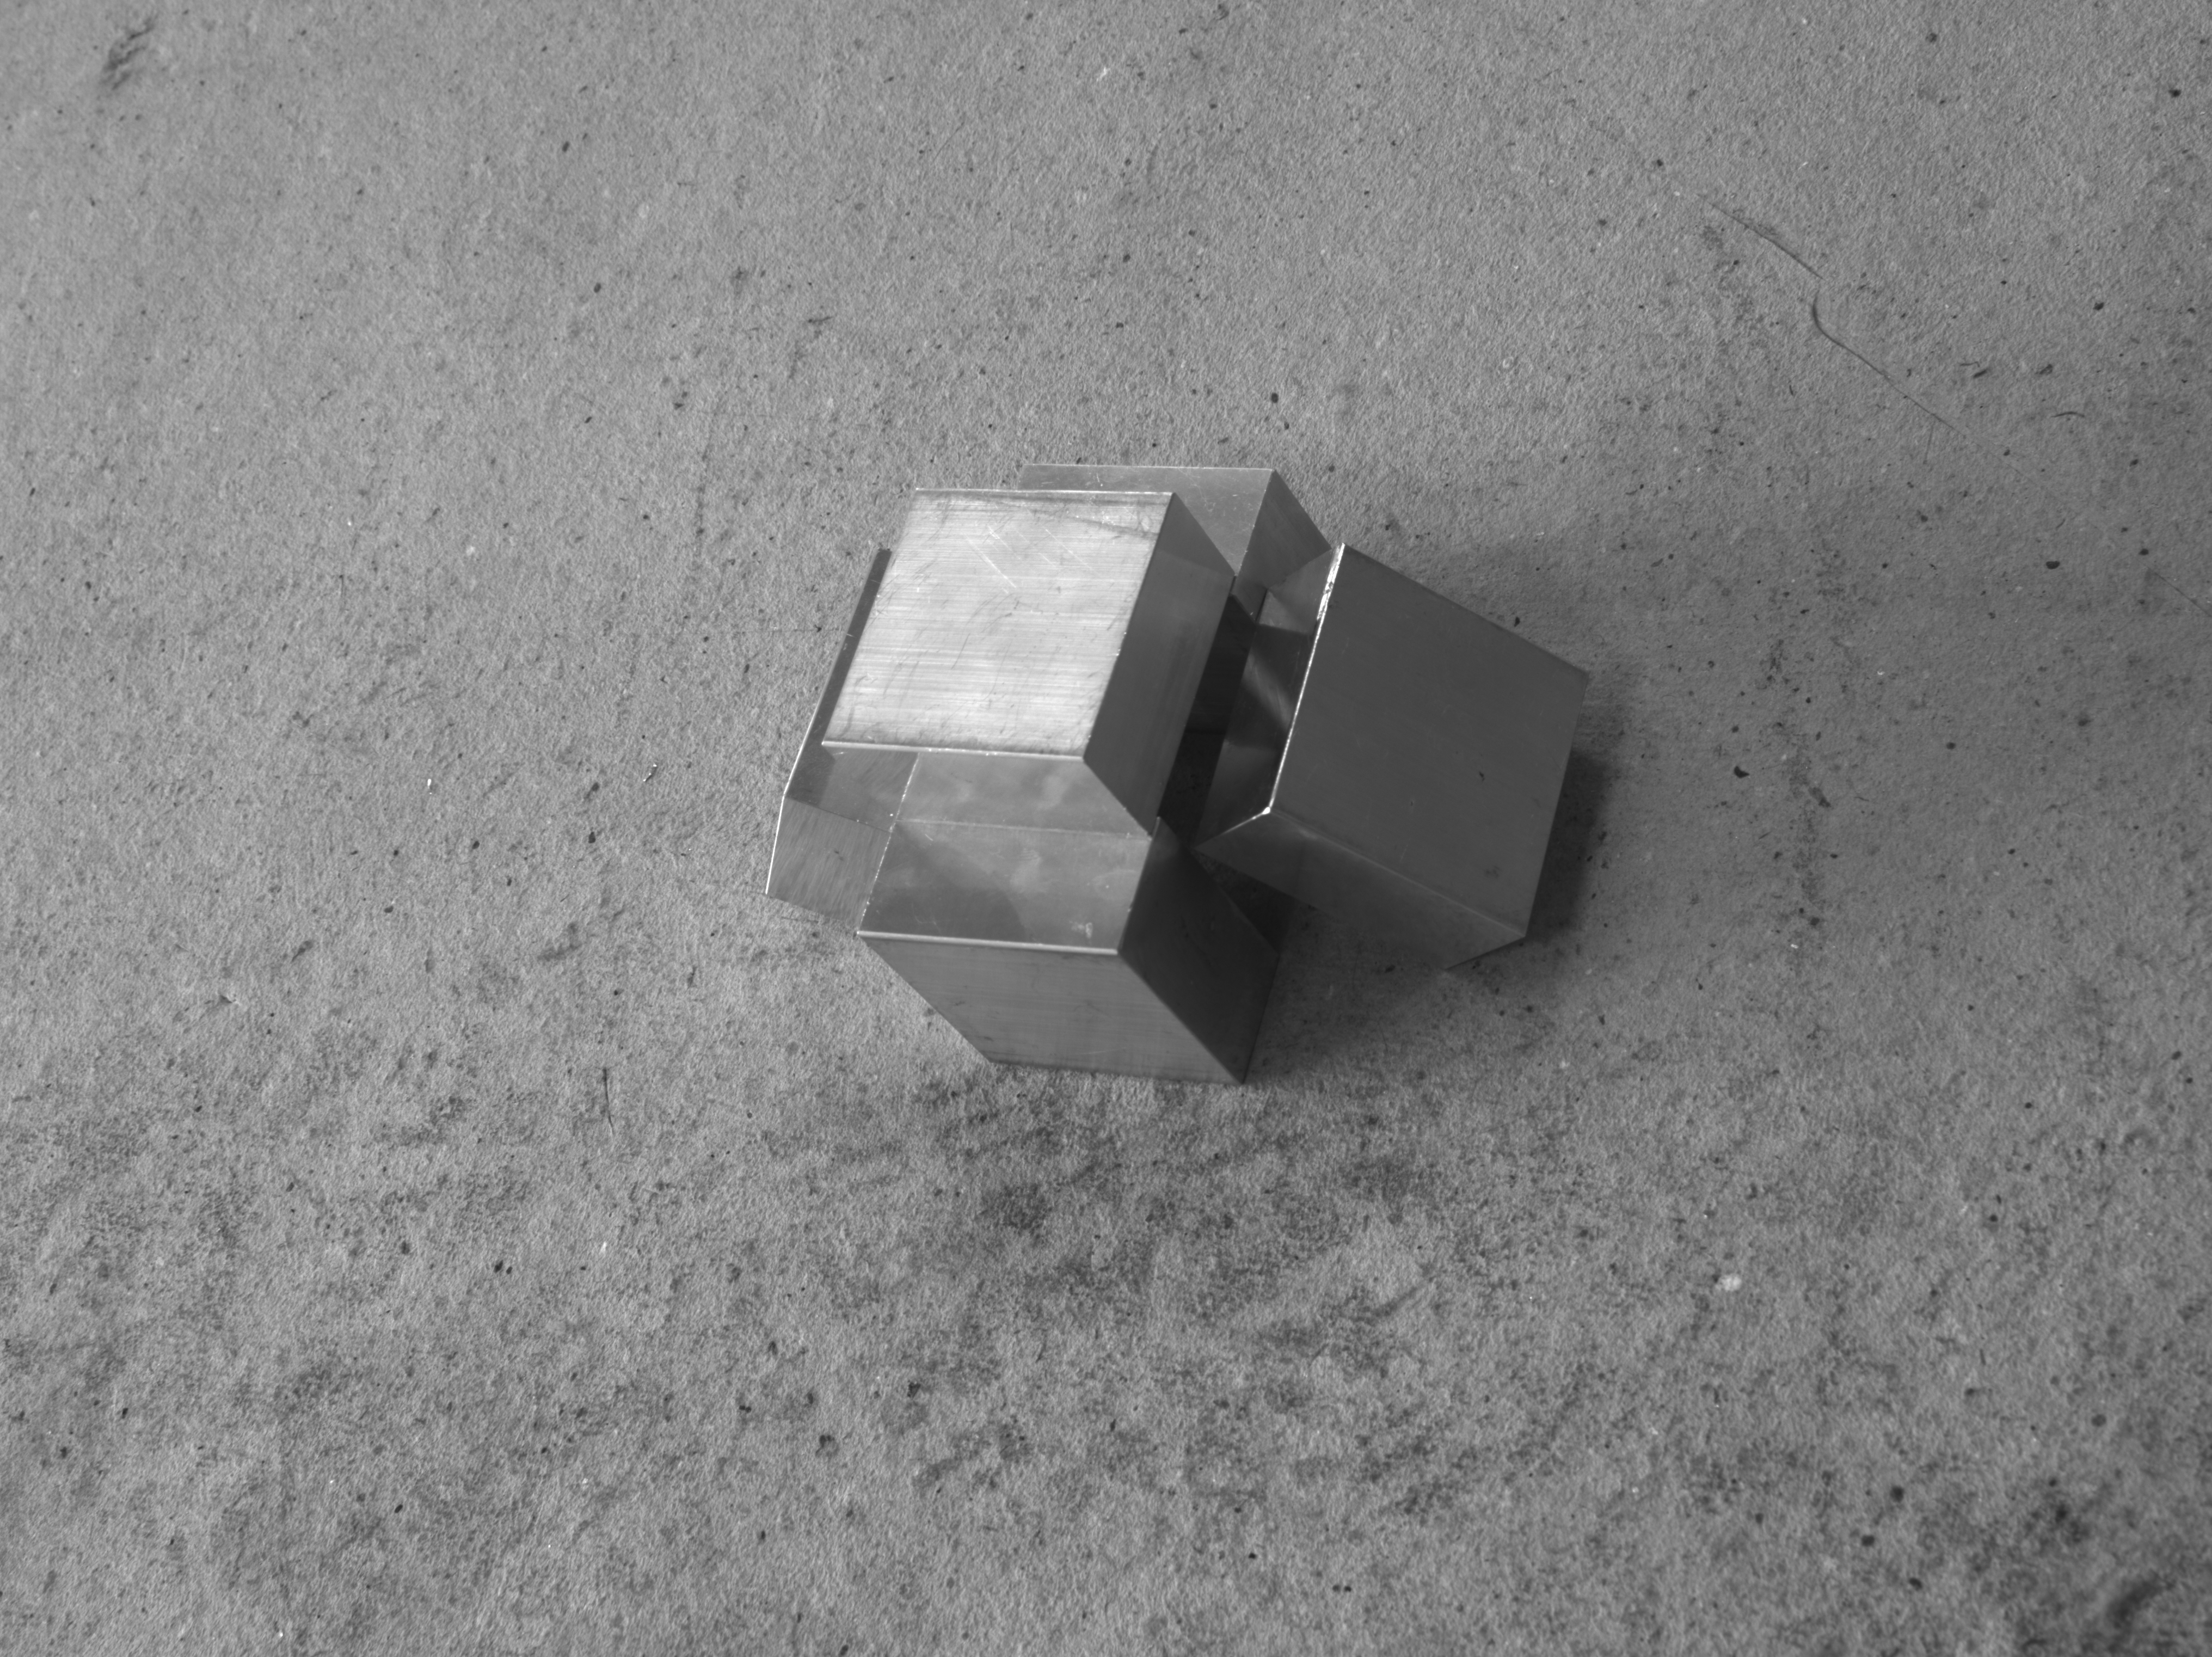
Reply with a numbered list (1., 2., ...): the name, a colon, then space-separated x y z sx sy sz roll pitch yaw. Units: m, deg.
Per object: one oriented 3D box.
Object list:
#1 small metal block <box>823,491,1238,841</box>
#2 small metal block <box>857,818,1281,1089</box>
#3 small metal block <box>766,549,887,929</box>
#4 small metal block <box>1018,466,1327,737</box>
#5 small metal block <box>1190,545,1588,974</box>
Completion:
1. small metal block: -0.012 -0.027 0.605 0.050 0.025 0.050 4 64 31
2. small metal block: -0.006 0.020 0.621 0.050 0.050 0.025 3 63 30
3. small metal block: -0.039 -0.014 0.657 0.025 0.050 0.050 19 68 -2
4. small metal block: 0.014 -0.039 0.647 0.050 0.050 0.025 5 64 31
5. small metal block: 0.047 -0.011 0.608 0.025 0.050 0.050 -28 41 58
